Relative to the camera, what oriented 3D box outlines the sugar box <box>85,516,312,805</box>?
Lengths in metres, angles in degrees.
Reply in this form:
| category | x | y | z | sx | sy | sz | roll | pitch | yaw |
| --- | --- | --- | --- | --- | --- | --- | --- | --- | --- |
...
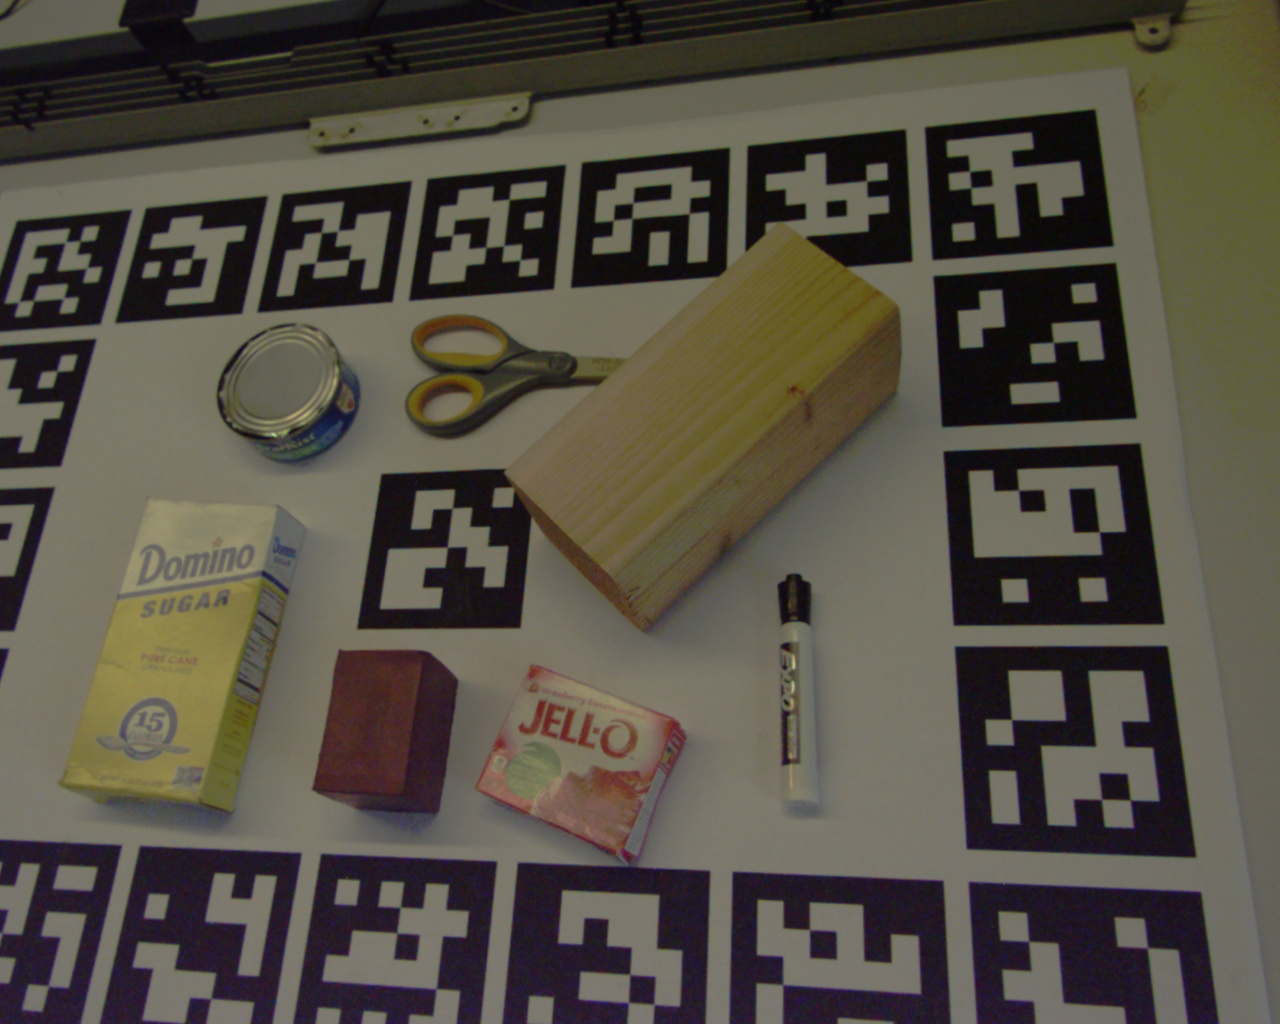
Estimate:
| category | x | y | z | sx | sy | sz | roll | pitch | yaw |
| --- | --- | --- | --- | --- | --- | --- | --- | --- | --- |
| sugar box | -0.274 | 0.091 | 0.718 | 0.093 | 0.045 | 0.176 | 3 | 69 | 14 |

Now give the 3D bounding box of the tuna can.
| category | x | y | z | sx | sy | sz | roll | pitch | yaw |
| --- | --- | --- | --- | --- | --- | --- | --- | --- | --- |
| tuna can | -0.240 | -0.066 | 0.776 | 0.086 | 0.033 | 0.086 | -5 | 68 | 12 |

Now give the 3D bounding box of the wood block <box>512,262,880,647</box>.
| category | x | y | z | sx | sy | sz | roll | pitch | yaw |
| --- | --- | --- | --- | --- | --- | --- | --- | --- | --- |
| wood block | 0.037 | -0.032 | 0.668 | 0.206 | 0.090 | 0.091 | -44 | 65 | -7 |

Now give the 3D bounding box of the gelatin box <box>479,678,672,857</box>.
| category | x | y | z | sx | sy | sz | roll | pitch | yaw |
| --- | --- | --- | --- | --- | --- | --- | --- | --- | --- |
| gelatin box | -0.036 | 0.143 | 0.644 | 0.090 | 0.030 | 0.073 | 17 | 74 | 20 |

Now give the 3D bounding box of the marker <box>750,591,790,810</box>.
| category | x | y | z | sx | sy | sz | roll | pitch | yaw |
| --- | --- | --- | --- | --- | --- | --- | --- | --- | --- |
| marker | 0.073 | 0.103 | 0.637 | 0.020 | 0.019 | 0.121 | -1 | 70 | 13 |

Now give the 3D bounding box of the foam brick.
| category | x | y | z | sx | sy | sz | roll | pitch | yaw |
| --- | --- | --- | --- | --- | --- | --- | --- | --- | --- |
| foam brick | -0.140 | 0.132 | 0.658 | 0.053 | 0.051 | 0.078 | 0 | 69 | 14 |

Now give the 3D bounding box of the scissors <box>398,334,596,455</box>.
| category | x | y | z | sx | sy | sz | roll | pitch | yaw |
| --- | --- | --- | --- | --- | --- | --- | --- | --- | --- |
| scissors | -0.068 | -0.075 | 0.749 | 0.204 | 0.016 | 0.088 | 5 | 70 | 18 |
